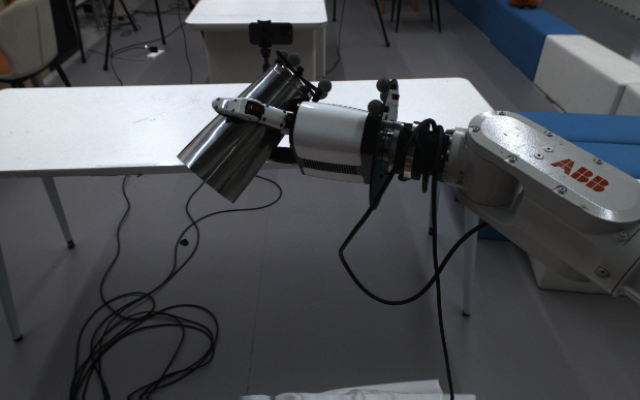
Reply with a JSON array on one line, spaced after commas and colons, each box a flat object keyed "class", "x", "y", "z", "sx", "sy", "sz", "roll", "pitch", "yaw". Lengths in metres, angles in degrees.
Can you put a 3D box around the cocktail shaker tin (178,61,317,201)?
[{"class": "cocktail shaker tin", "x": -0.090, "y": -0.093, "z": 0.618, "sx": 0.170, "sy": 0.093, "sz": 0.093, "roll": -48, "pitch": 49, "yaw": -4}]
